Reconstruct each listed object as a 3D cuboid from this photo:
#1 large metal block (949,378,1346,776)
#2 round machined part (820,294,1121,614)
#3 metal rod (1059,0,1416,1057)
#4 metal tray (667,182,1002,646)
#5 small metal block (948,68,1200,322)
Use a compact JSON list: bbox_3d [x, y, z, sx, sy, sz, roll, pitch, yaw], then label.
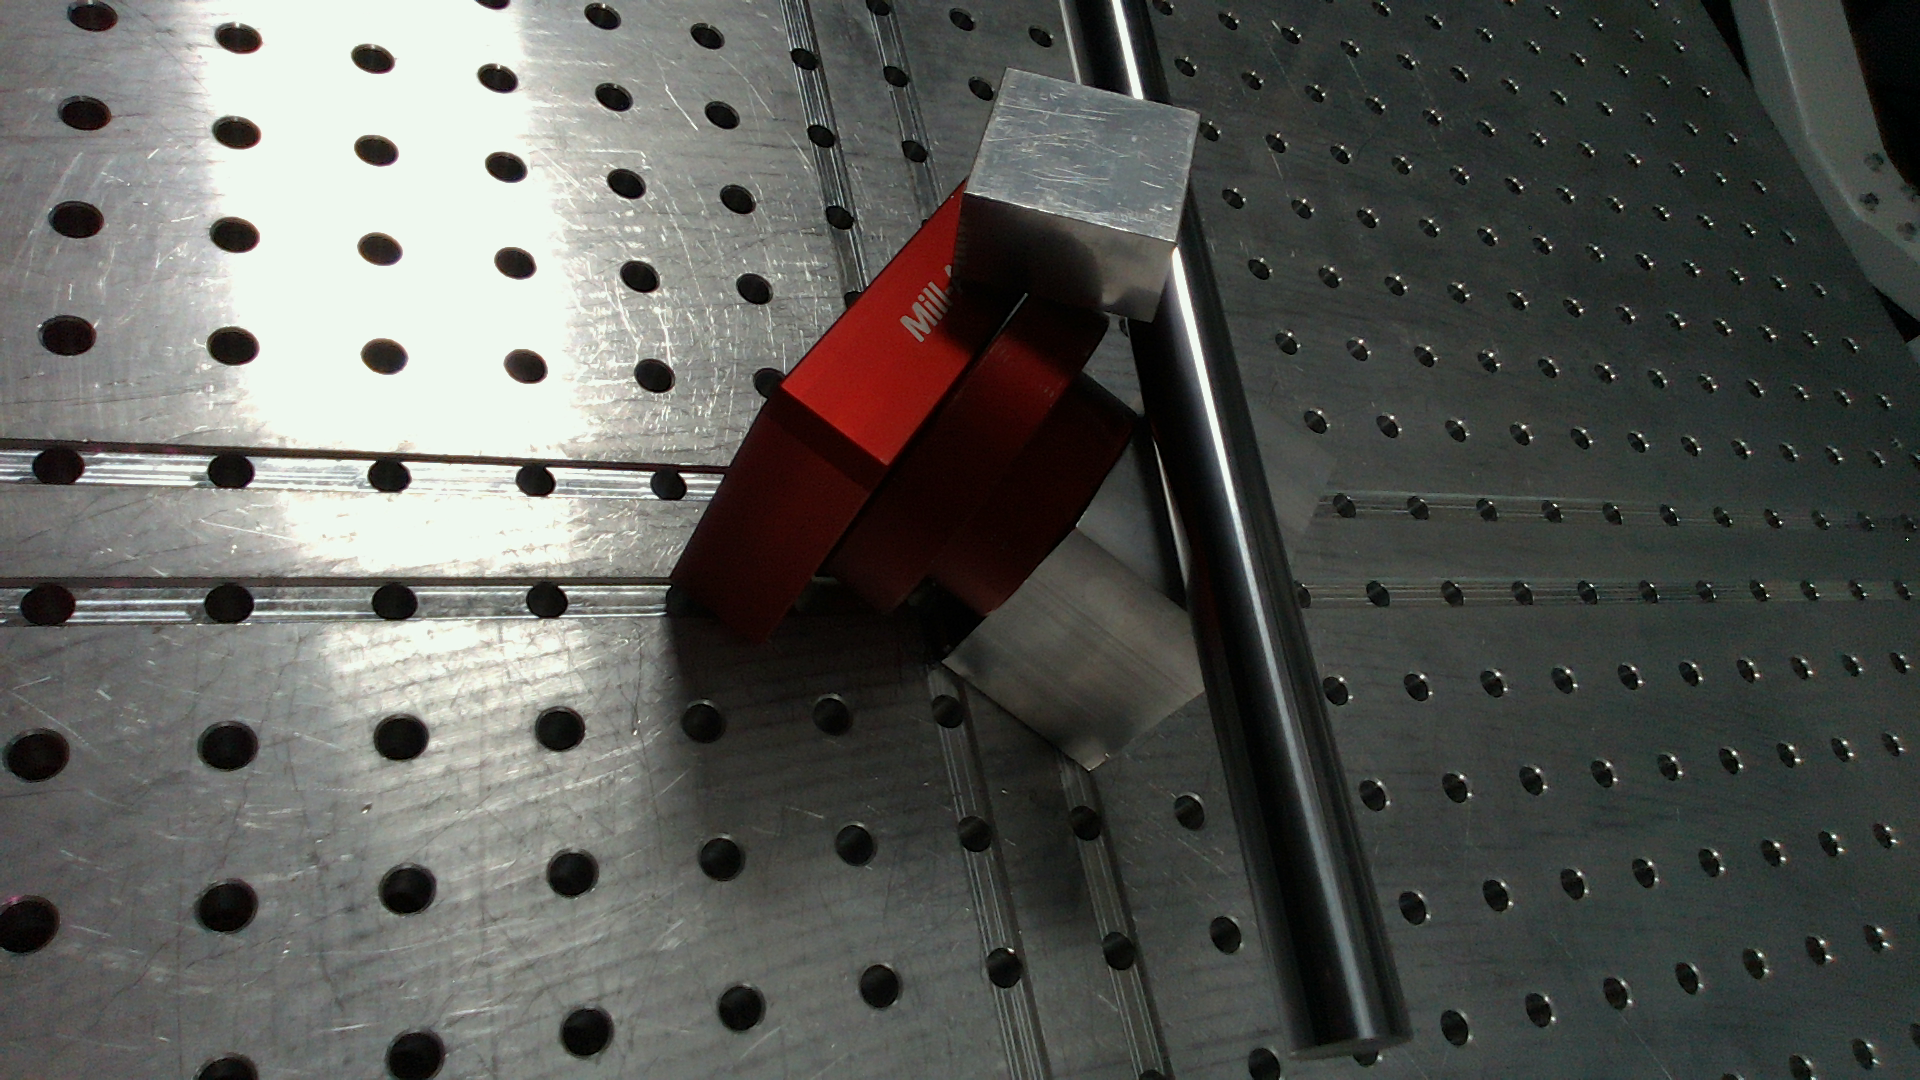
[{"bbox_3d":[0.051,0.006,0.377,0.050,0.080,0.080,37,51,-3],"label":"large metal block"},{"bbox_3d":[0.006,-0.019,0.366,0.042,0.098,0.098,36,51,-4],"label":"round machined part"},{"bbox_3d":[0.059,-0.032,0.341,0.025,0.025,0.300,7,59,-25],"label":"metal rod"},{"bbox_3d":[-0.019,-0.042,0.366,0.030,0.090,0.130,37,51,-3],"label":"metal tray"},{"bbox_3d":[0.028,-0.084,0.334,0.050,0.025,0.050,14,52,2],"label":"small metal block"}]
